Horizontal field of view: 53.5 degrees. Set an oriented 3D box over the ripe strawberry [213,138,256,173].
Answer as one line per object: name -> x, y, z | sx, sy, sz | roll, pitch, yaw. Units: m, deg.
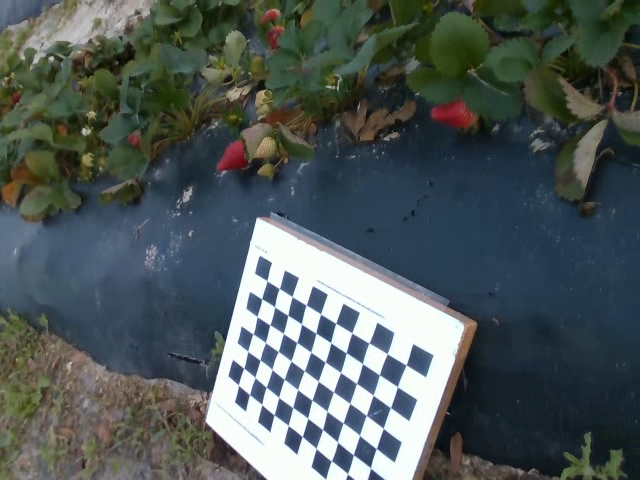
ripe strawberry -> -0.117, -0.111, 0.842 | 0.050, 0.034, 0.059 | 12, 49, 44
